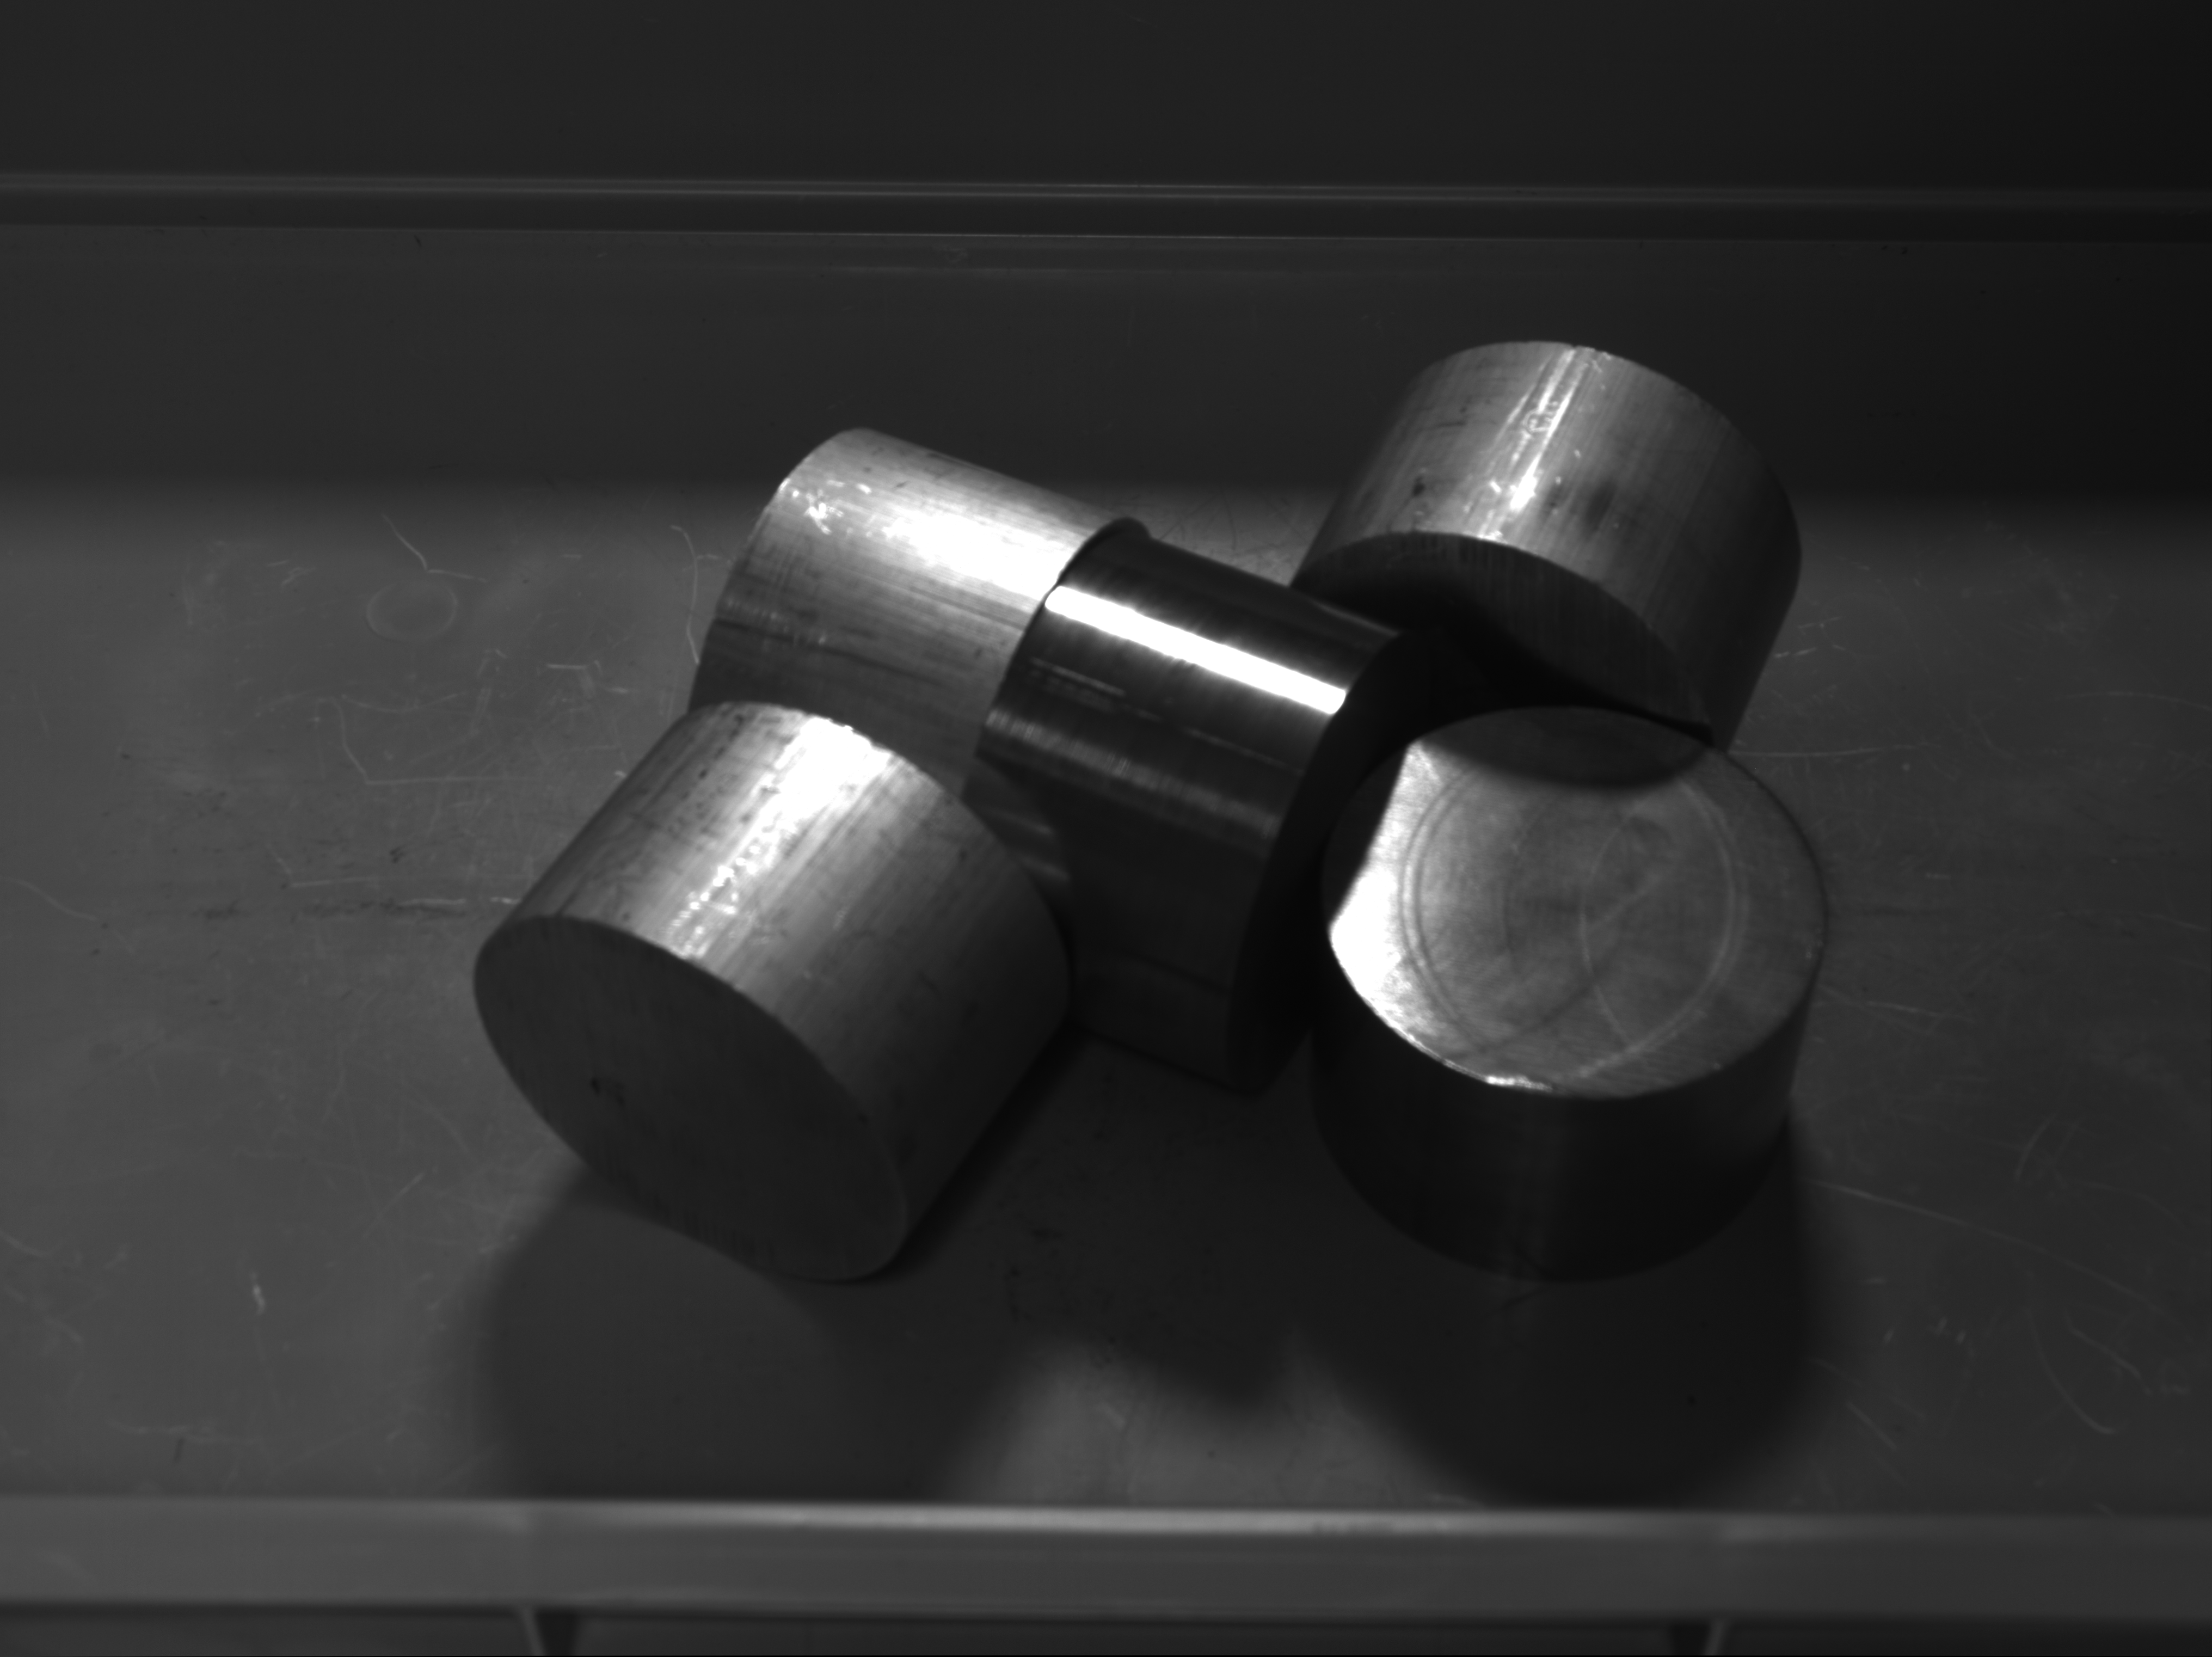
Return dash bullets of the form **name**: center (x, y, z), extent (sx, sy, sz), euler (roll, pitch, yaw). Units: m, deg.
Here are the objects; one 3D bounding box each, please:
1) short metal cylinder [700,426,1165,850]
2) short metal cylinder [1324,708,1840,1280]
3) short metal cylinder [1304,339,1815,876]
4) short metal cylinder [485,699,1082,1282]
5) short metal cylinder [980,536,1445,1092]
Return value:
- **short metal cylinder**: center (-0.028, -0.023, 0.624), extent (0.050, 0.080, 0.080), euler (20, 53, 16)
- **short metal cylinder**: center (0.077, 0.027, 0.601), extent (0.080, 0.050, 0.080), euler (0, 50, 0)
- **short metal cylinder**: center (0.077, -0.038, 0.636), extent (0.080, 0.080, 0.050), euler (18, 52, 15)
- **short metal cylinder**: center (-0.051, 0.026, 0.582), extent (0.080, 0.080, 0.050), euler (23, 54, 19)
- **short metal cylinder**: center (0.017, -0.003, 0.608), extent (0.050, 0.080, 0.080), euler (21, 53, 17)
